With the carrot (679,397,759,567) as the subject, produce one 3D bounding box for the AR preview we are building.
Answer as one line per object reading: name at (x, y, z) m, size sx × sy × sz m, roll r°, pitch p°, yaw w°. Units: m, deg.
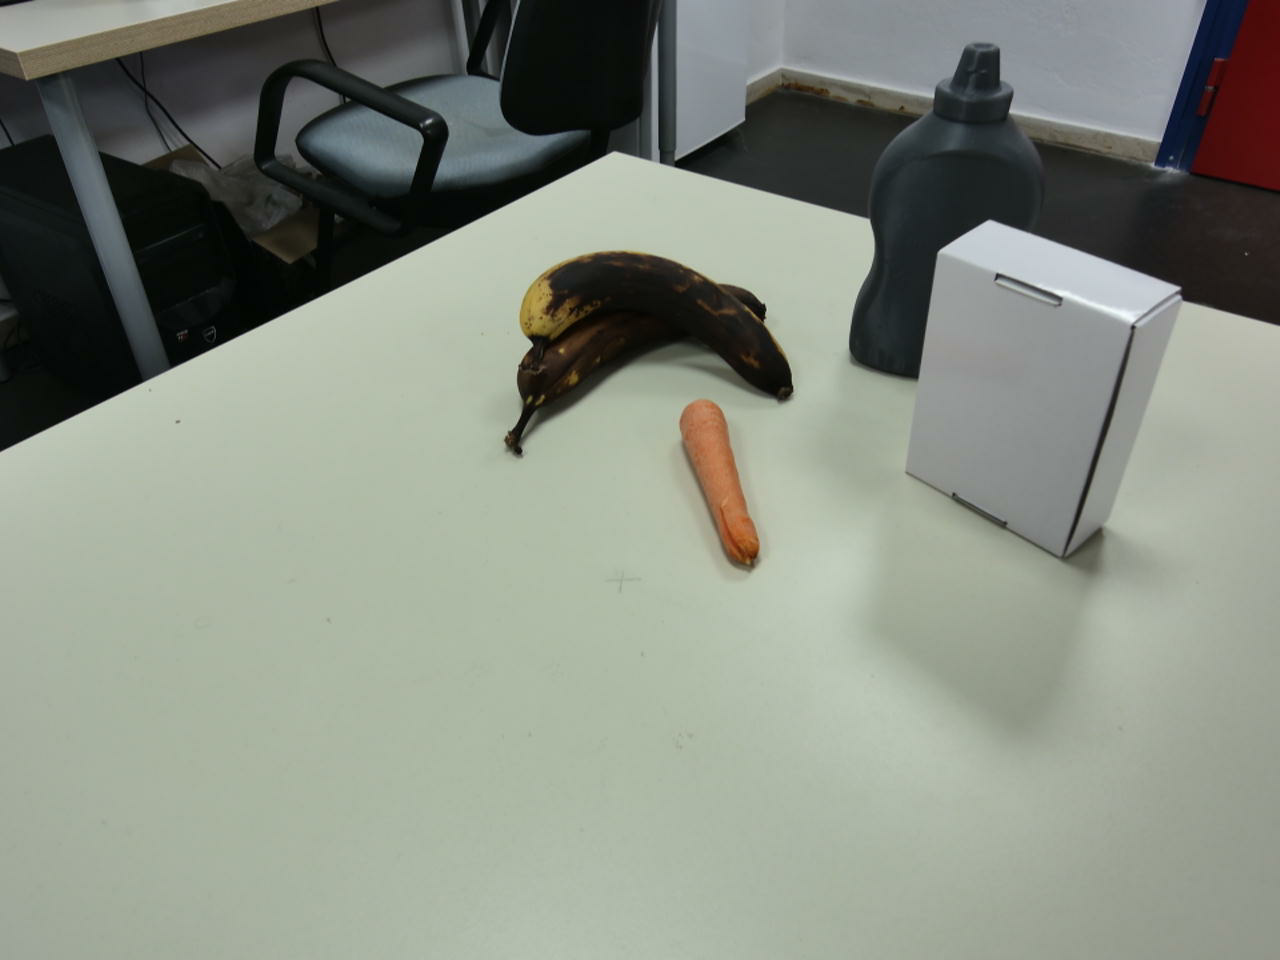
carrot at (0.045, -0.003, 0.574) m, size 0.030 × 0.032 × 0.136 m, roll -5°, pitch 37°, yaw -6°
